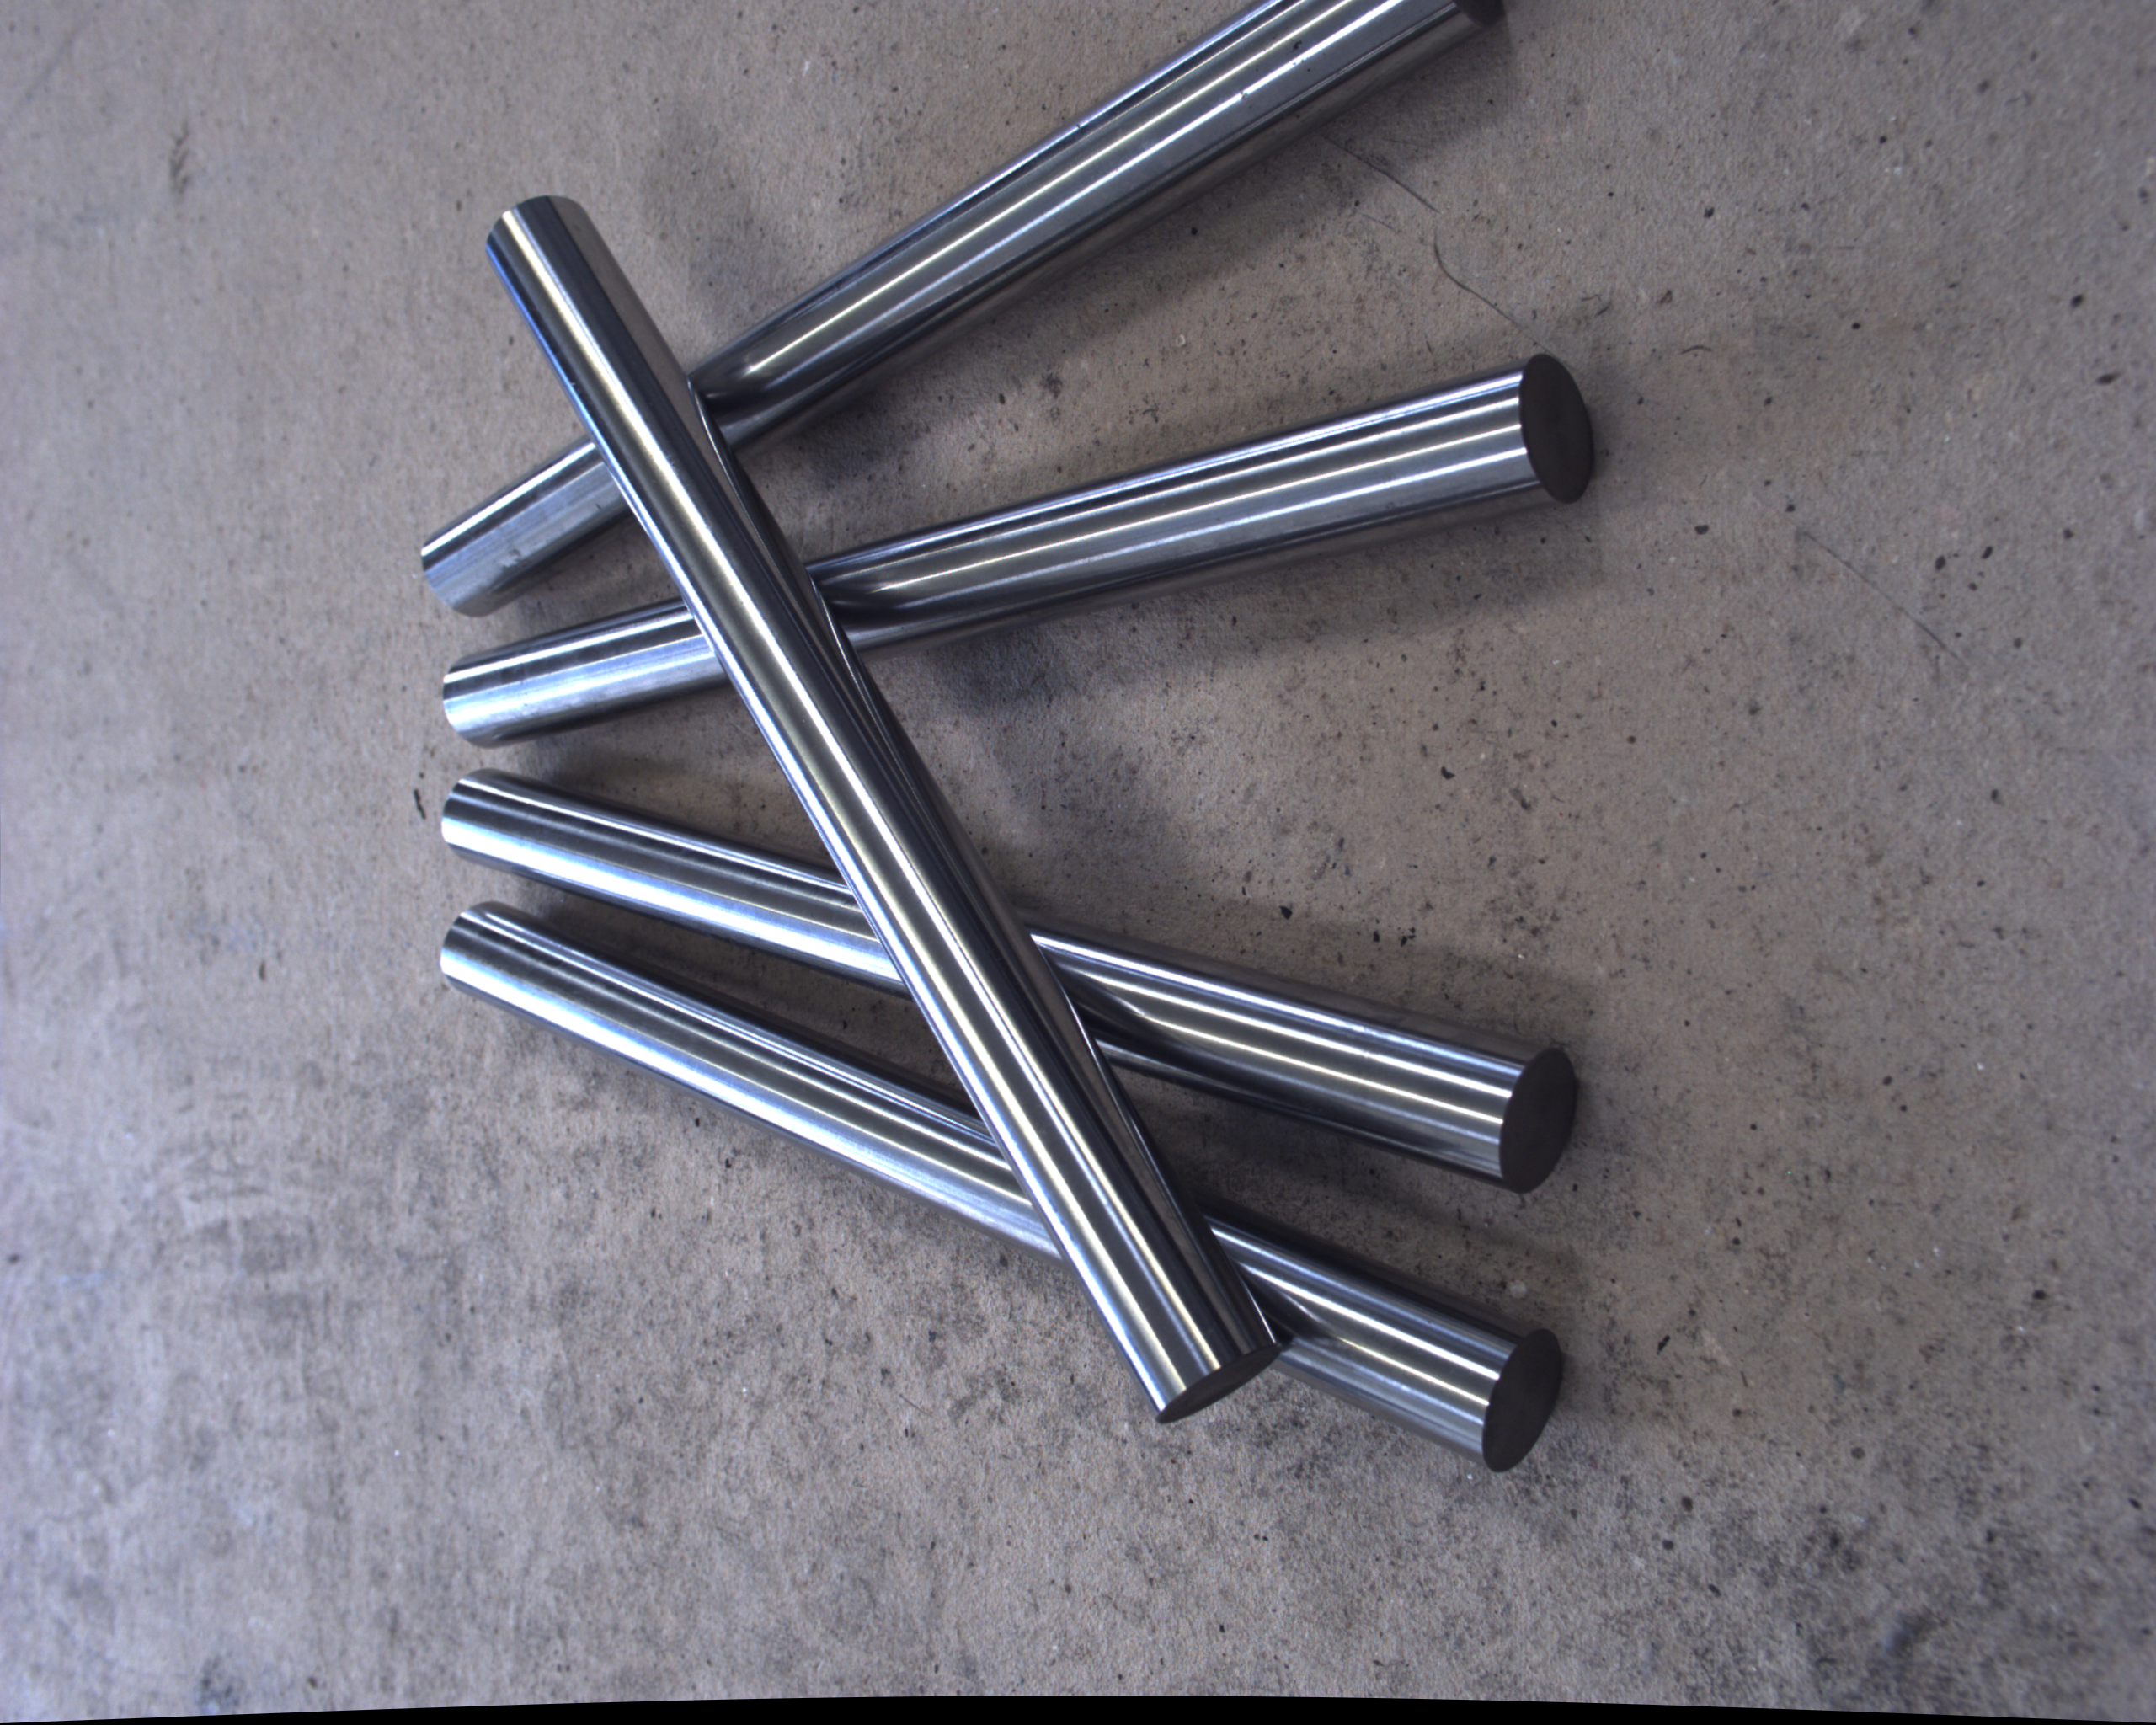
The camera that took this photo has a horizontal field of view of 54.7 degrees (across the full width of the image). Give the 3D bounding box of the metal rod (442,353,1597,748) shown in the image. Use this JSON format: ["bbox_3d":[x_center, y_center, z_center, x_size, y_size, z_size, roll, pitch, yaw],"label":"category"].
[{"bbox_3d":[-0.036,-0.056,0.437,0.300,0.025,0.025,-7,85,39],"label":"metal rod"}]

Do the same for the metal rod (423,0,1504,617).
[{"bbox_3d":[-0.046,-0.114,0.446,0.299,0.025,0.025,-19,78,38],"label":"metal rod"}]

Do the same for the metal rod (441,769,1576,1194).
[{"bbox_3d":[-0.038,0.015,0.438,0.300,0.025,0.025,13,99,39],"label":"metal rod"}]

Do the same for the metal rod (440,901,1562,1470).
[{"bbox_3d":[-0.039,0.055,0.439,0.300,0.025,0.025,17,101,38],"label":"metal rod"}]

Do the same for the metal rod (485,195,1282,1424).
[{"bbox_3d":[-0.050,-0.027,0.414,0.025,0.025,0.299,-47,62,30],"label":"metal rod"}]
